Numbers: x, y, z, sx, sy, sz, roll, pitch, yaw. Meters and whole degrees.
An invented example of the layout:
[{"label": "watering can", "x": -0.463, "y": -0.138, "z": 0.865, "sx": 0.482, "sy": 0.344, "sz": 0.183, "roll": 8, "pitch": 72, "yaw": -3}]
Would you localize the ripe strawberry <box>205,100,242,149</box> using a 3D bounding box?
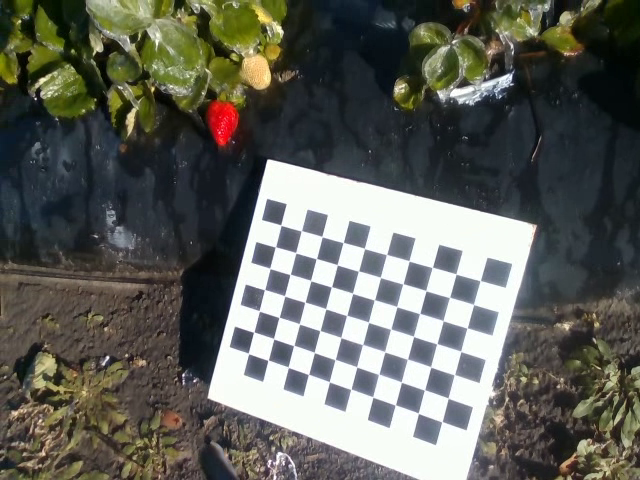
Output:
[{"label": "ripe strawberry", "x": -0.114, "y": -0.128, "z": 0.732, "sx": 0.041, "sy": 0.052, "sz": 0.040, "roll": -3, "pitch": -10, "yaw": 15}]
